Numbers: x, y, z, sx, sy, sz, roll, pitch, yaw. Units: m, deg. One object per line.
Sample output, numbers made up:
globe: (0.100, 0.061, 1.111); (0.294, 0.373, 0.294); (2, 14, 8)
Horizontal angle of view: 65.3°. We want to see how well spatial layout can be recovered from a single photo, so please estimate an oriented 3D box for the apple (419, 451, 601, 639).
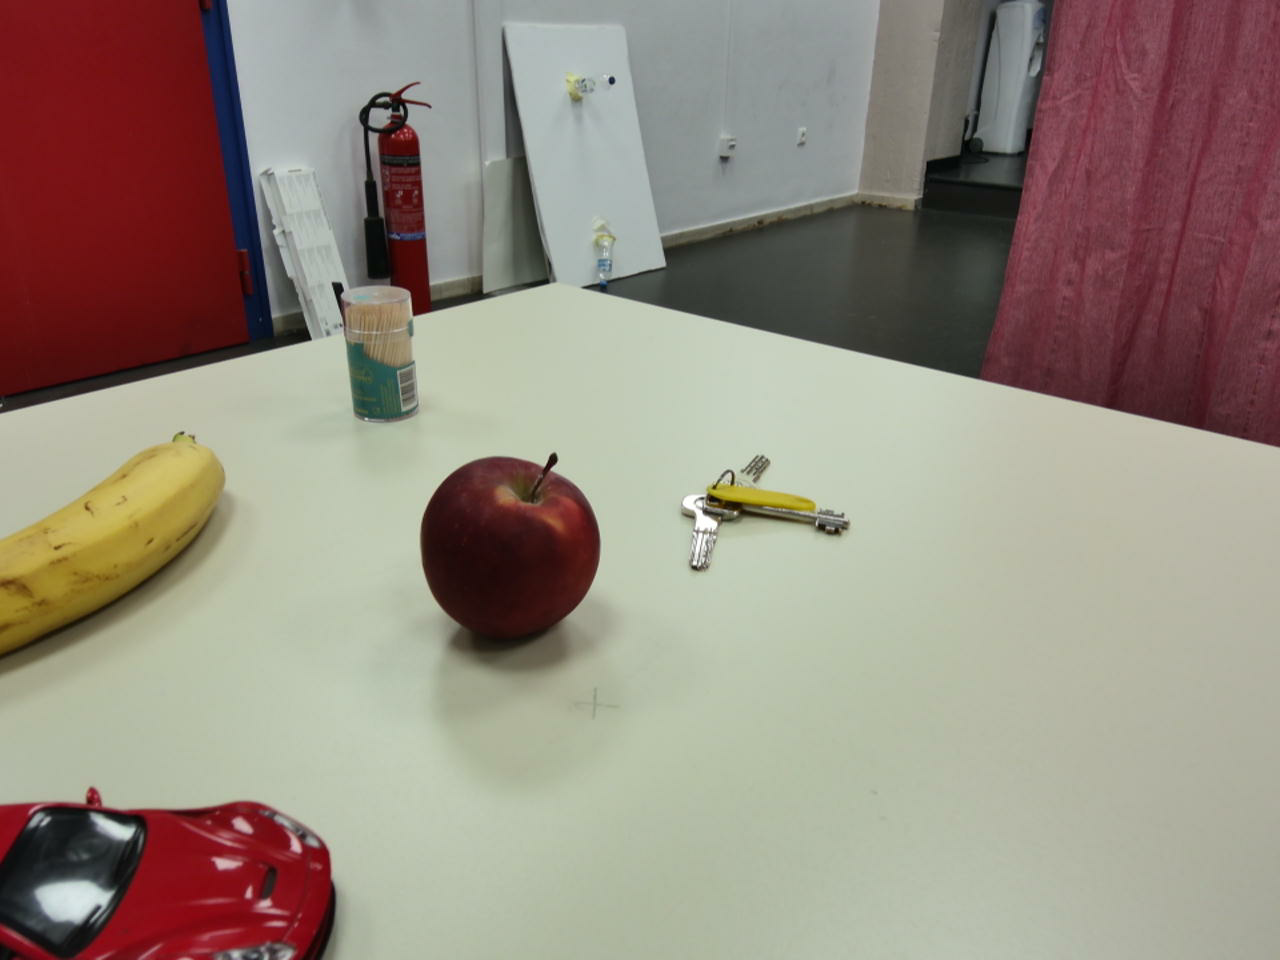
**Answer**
apple: (-0.051, 0.026, 0.394); (0.070, 0.072, 0.070); (0, 23, 0)
